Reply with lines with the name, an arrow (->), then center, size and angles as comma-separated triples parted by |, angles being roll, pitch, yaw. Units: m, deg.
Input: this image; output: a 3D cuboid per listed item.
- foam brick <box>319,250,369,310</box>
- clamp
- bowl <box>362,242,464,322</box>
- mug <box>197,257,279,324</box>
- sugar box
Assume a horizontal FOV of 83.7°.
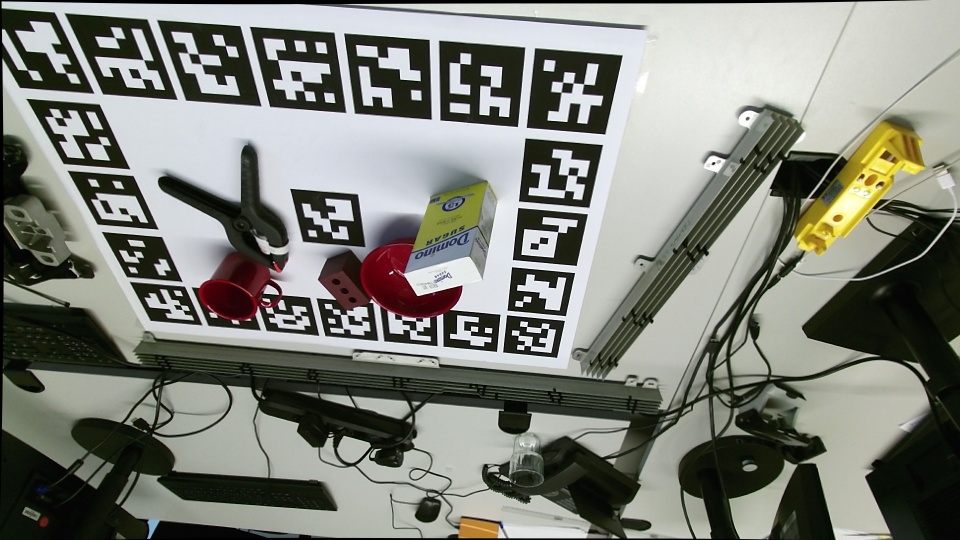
foam brick -> -0.219, 0.016, 0.881 | 0.053, 0.051, 0.078 | -18, 124, 18
clamp -> -0.352, -0.071, 0.818 | 0.166, 0.036, 0.203 | -15, 125, 15
bowl -> -0.102, 0.010, 0.853 | 0.162, 0.055, 0.162 | 4, 129, 4
mug -> -0.391, 0.037, 0.886 | 0.117, 0.081, 0.093 | 27, 127, -11
sugar box -> -0.028, -0.050, 0.719 | 0.093, 0.176, 0.045 | -15, 124, 19
